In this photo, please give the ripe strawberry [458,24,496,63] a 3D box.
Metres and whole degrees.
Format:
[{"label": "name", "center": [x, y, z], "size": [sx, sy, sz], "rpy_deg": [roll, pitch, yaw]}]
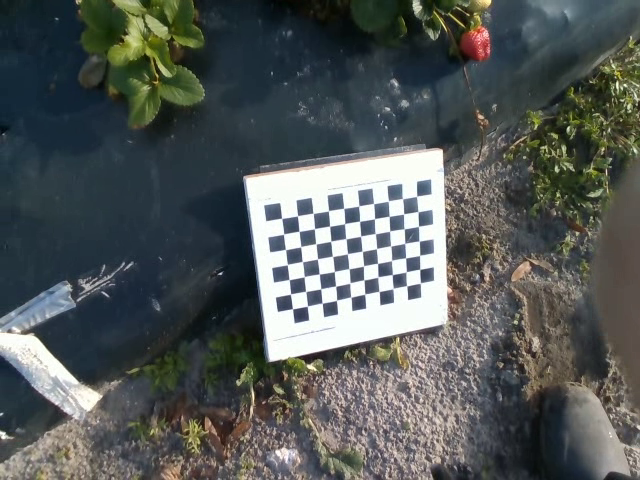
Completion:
[{"label": "ripe strawberry", "center": [0.229, -0.277, 0.918], "size": [0.047, 0.050, 0.034], "rpy_deg": [-30, 16, -7]}]
